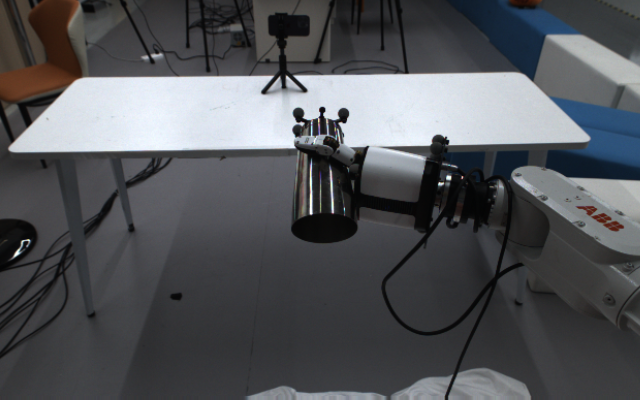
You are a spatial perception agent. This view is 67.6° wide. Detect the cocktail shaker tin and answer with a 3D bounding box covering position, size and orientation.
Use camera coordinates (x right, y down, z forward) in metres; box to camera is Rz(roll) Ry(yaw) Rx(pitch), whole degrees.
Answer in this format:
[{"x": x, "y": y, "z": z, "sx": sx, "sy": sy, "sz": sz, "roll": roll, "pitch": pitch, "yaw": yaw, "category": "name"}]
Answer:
[{"x": 0.003, "y": -0.034, "z": 0.701, "sx": 0.093, "sy": 0.093, "sz": 0.170, "roll": 0, "pitch": 59, "yaw": -3, "category": "cocktail shaker tin"}]
